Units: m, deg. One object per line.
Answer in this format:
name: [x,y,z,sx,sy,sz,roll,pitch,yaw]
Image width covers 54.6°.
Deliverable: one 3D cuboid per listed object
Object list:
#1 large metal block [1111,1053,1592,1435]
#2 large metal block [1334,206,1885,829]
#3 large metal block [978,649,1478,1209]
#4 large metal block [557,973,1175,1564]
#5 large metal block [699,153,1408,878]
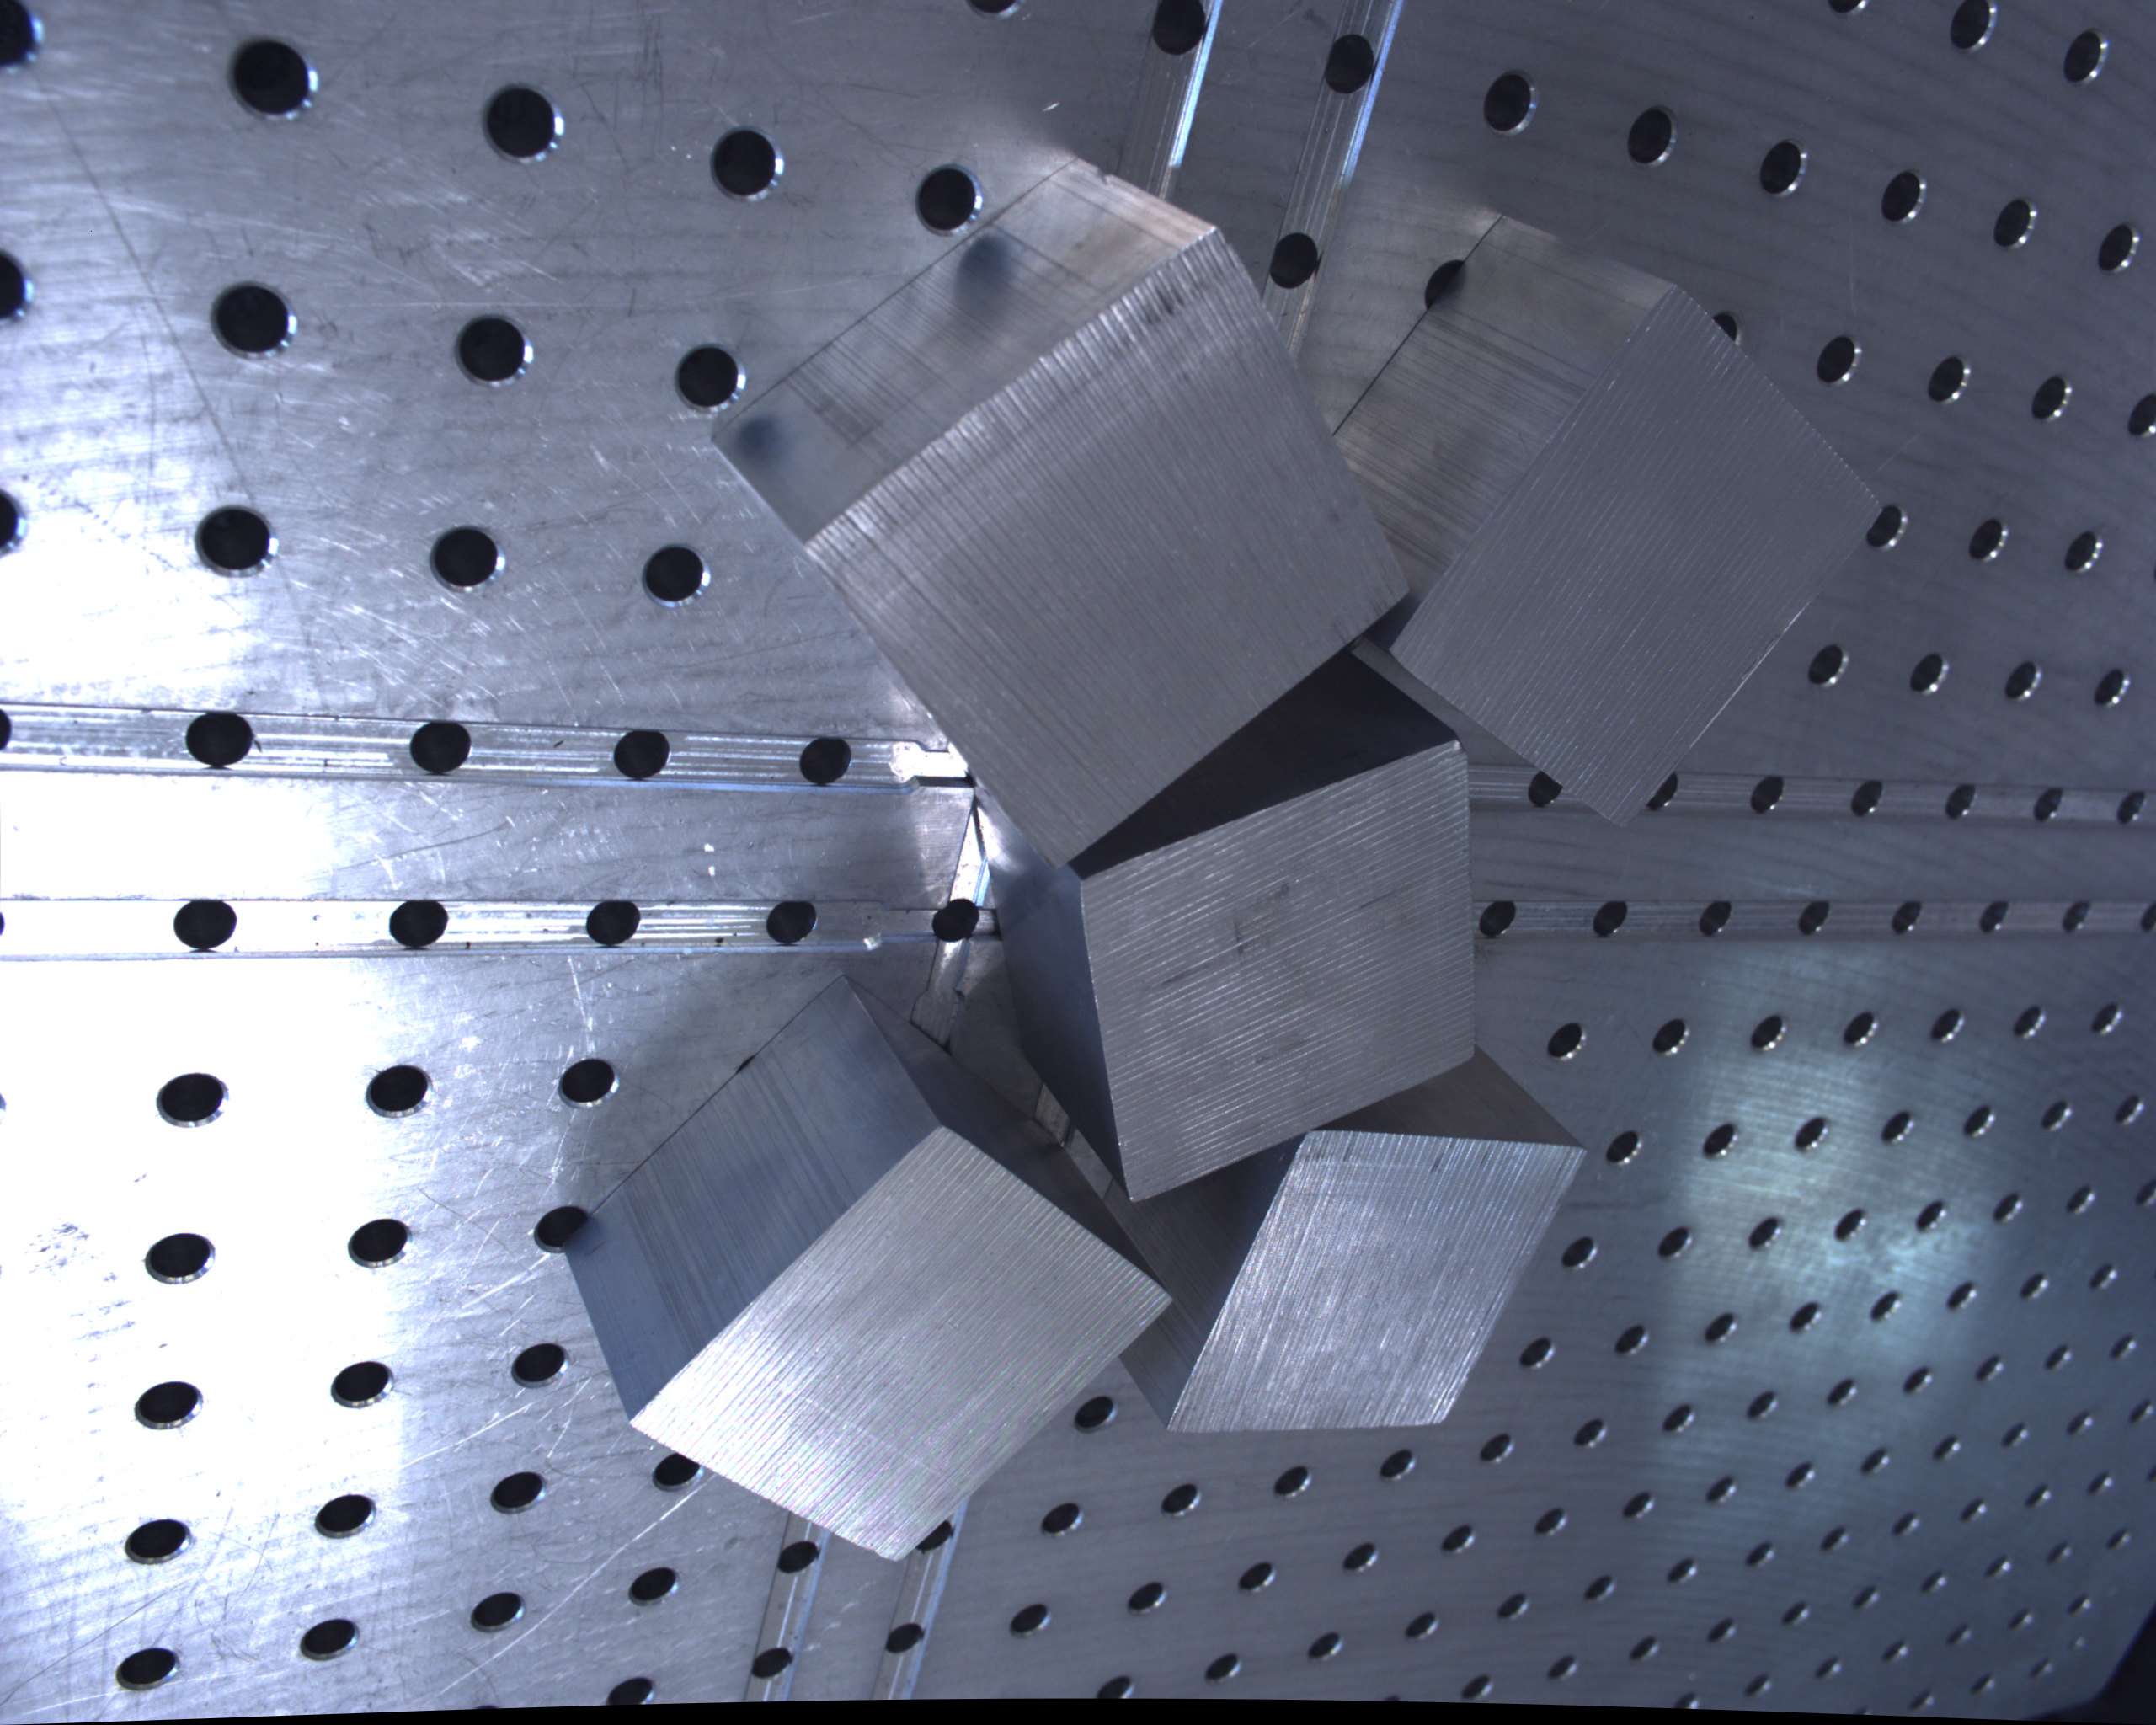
large metal block: [0.056,0.081,0.475,0.081,0.050,0.080,9,114,-33]
large metal block: [0.095,-0.065,0.404,0.080,0.050,0.080,28,103,-40]
large metal block: [0.031,0.010,0.416,0.081,0.050,0.080,-21,127,-16]
large metal block: [-0.042,0.083,0.420,0.080,0.050,0.080,-44,129,2]
large metal block: [-0.003,-0.059,0.356,0.080,0.050,0.080,-38,129,-2]
